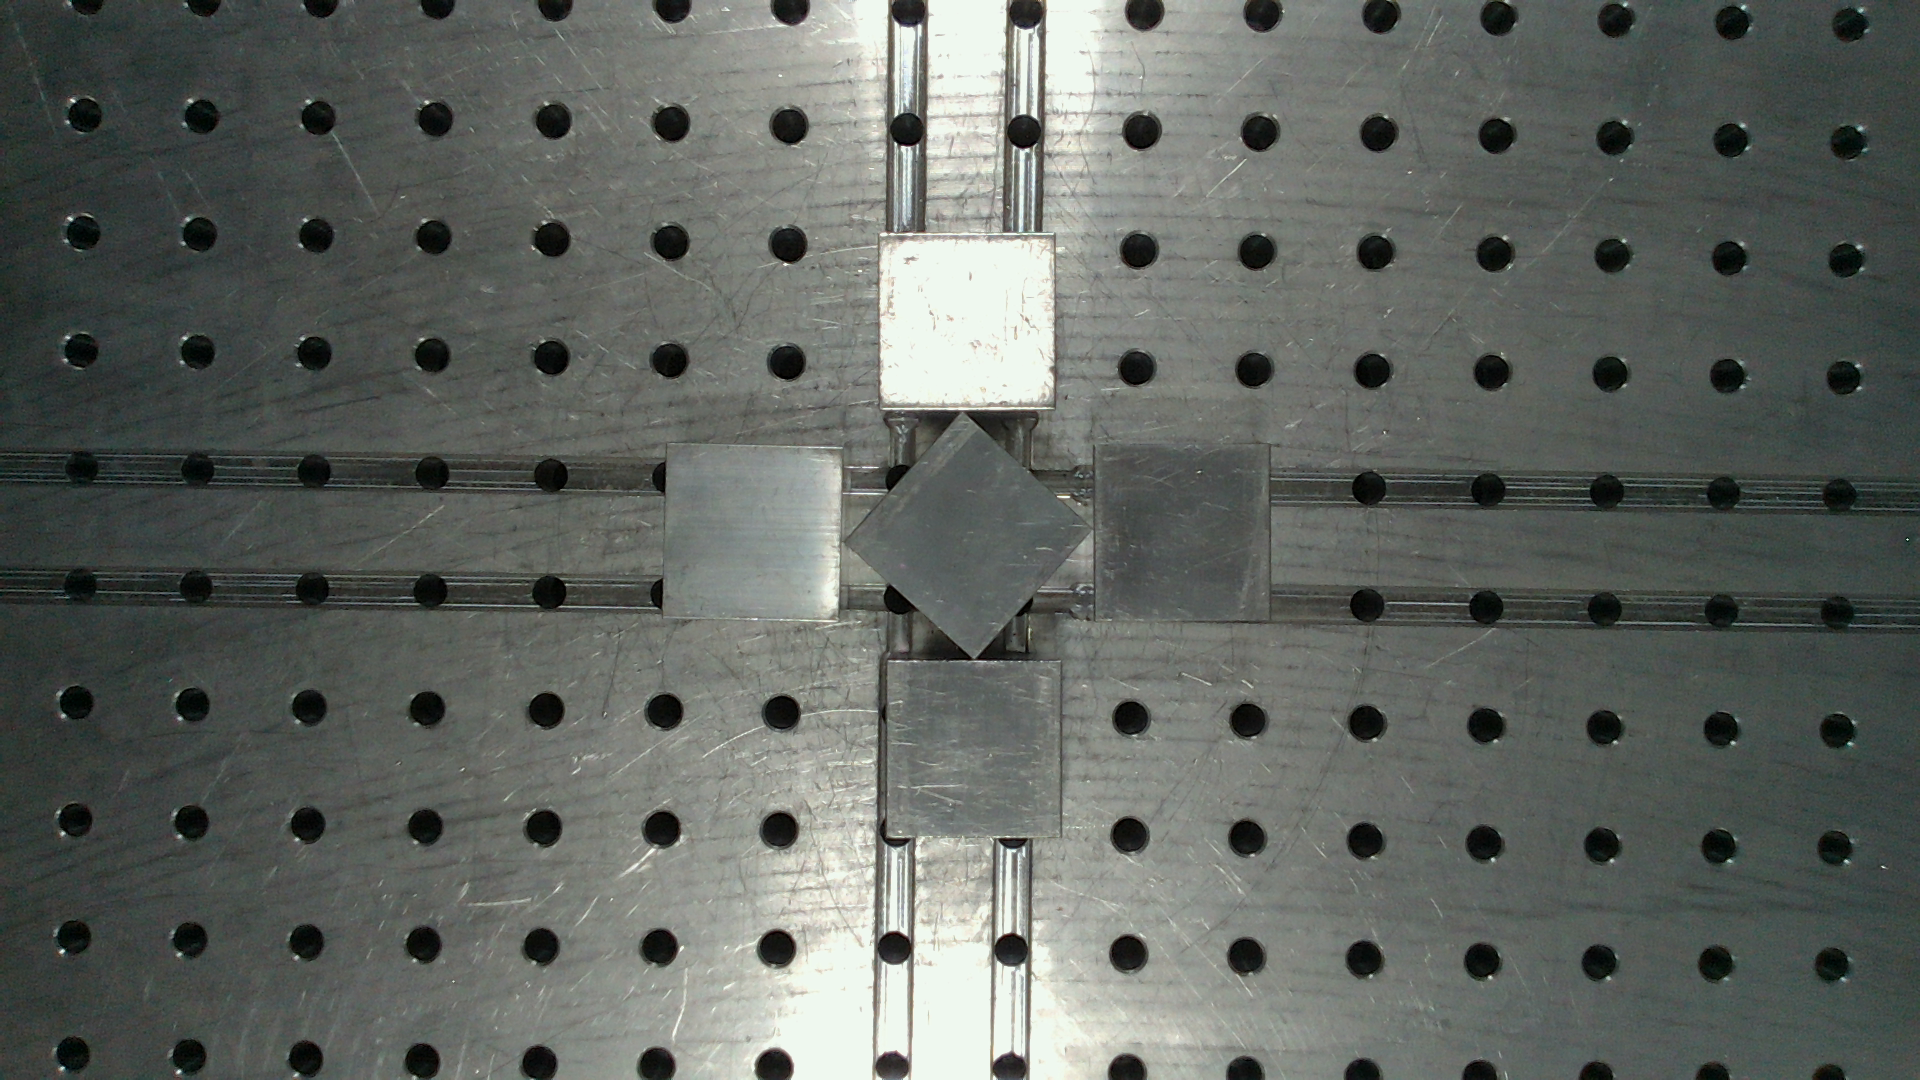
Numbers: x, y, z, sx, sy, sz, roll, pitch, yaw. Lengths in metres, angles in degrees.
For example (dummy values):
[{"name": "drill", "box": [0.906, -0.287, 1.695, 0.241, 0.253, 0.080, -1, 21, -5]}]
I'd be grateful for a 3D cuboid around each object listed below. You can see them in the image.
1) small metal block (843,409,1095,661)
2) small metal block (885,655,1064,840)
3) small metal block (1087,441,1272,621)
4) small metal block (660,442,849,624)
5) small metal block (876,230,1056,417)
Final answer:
[{"name": "small metal block", "box": [0.003, -0.002, 0.397, 0.050, 0.025, 0.050, 42, 90, 0]}, {"name": "small metal block", "box": [0.004, 0.059, 0.398, 0.050, 0.025, 0.050, 0, 90, 0]}, {"name": "small metal block", "box": [0.062, -0.003, 0.398, 0.050, 0.025, 0.050, 0, 90, 0]}, {"name": "small metal block", "box": [-0.058, -0.002, 0.397, 0.050, 0.025, 0.050, 1, 90, 0]}, {"name": "small metal block", "box": [0.002, -0.062, 0.397, 0.050, 0.025, 0.050, -1, 90, 0]}]
